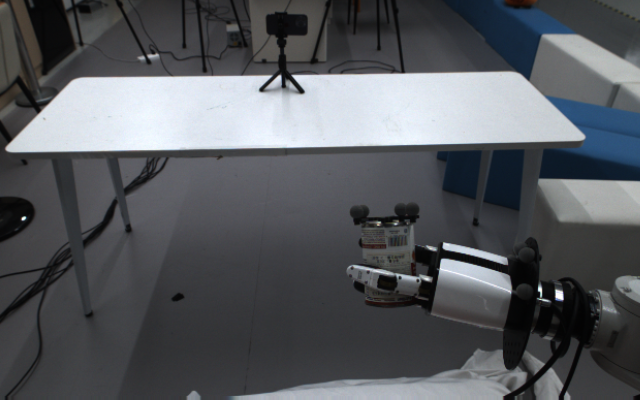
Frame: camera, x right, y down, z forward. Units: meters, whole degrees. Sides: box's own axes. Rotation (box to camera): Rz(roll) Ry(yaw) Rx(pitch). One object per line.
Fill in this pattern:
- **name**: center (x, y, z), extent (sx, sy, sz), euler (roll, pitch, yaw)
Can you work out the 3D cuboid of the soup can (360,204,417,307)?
- **soup can**: center (0.089, 0.079, 0.610), extent (0.067, 0.101, 0.067), euler (-3, -1, 0)
